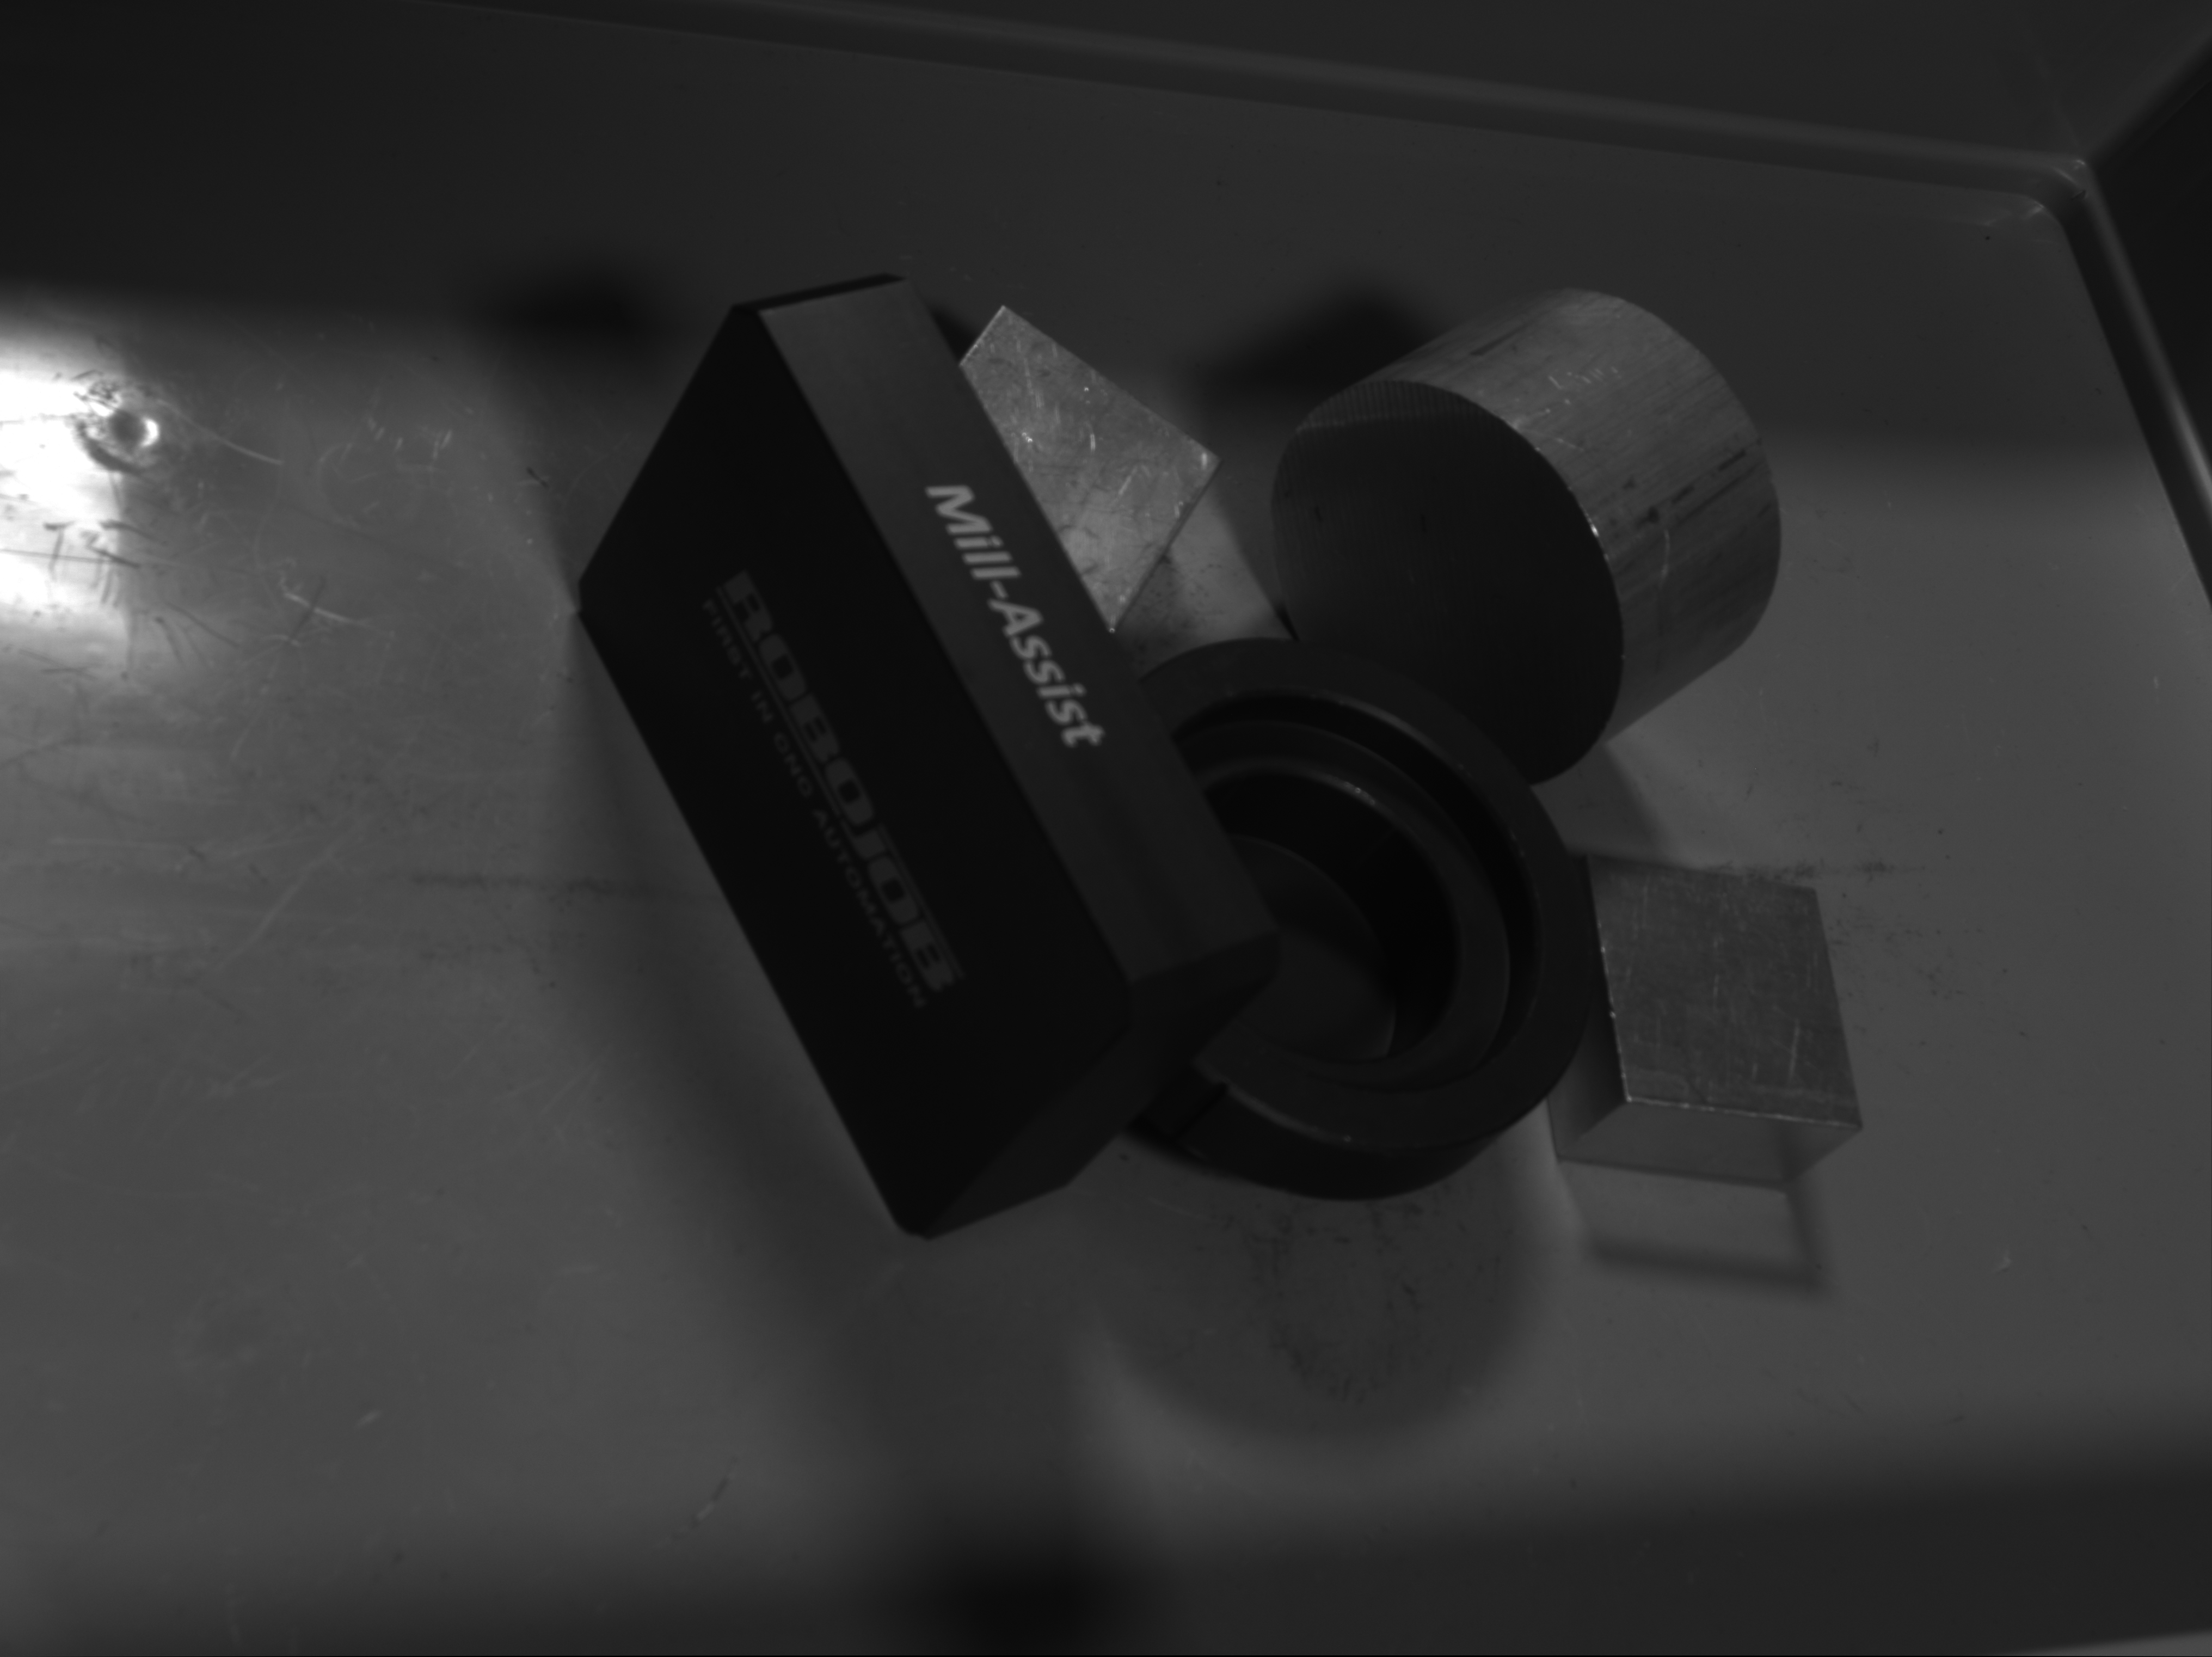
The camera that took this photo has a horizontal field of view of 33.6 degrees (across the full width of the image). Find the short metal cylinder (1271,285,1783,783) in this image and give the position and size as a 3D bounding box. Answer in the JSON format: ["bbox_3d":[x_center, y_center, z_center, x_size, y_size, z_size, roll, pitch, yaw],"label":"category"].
[{"bbox_3d":[0.077,-0.054,0.678,0.050,0.080,0.080,-33,80,-38],"label":"short metal cylinder"}]

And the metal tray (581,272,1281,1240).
[{"bbox_3d":[-0.032,-0.011,0.586,0.030,0.090,0.130,-18,71,-34],"label":"metal tray"}]

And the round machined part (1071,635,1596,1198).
[{"bbox_3d":[0.032,0.019,0.631,0.098,0.042,0.098,14,56,-21],"label":"round machined part"}]

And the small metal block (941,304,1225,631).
[{"bbox_3d":[-0.014,-0.059,0.667,0.050,0.025,0.050,34,52,-4],"label":"small metal block"}]

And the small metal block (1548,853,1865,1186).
[{"bbox_3d":[0.107,0.035,0.674,0.050,0.025,0.050,8,57,-22],"label":"small metal block"}]
